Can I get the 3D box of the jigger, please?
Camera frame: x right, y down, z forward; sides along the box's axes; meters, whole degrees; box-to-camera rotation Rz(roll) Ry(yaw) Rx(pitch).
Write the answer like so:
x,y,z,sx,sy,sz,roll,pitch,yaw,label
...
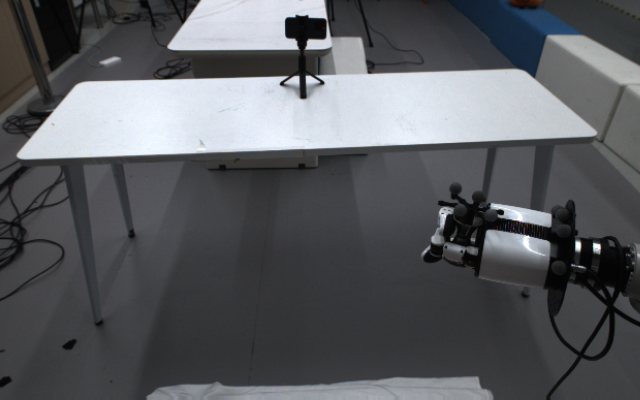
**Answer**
x,y,z,sx,sy,sz,roll,pitch,yaw,label
0.205,0.056,0.694,0.043,0.071,0.043,6,26,-3,jigger
